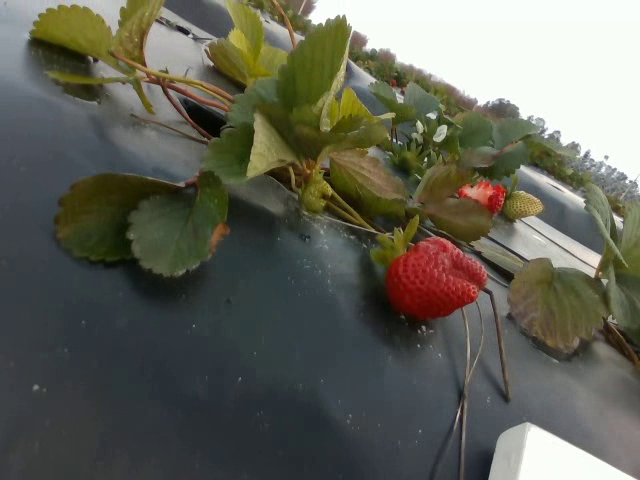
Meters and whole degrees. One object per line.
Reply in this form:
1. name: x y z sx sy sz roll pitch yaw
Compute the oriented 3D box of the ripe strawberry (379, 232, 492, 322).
1. ripe strawberry: 0.016 0.006 0.080 0.015 0.014 0.017 14 40 44
